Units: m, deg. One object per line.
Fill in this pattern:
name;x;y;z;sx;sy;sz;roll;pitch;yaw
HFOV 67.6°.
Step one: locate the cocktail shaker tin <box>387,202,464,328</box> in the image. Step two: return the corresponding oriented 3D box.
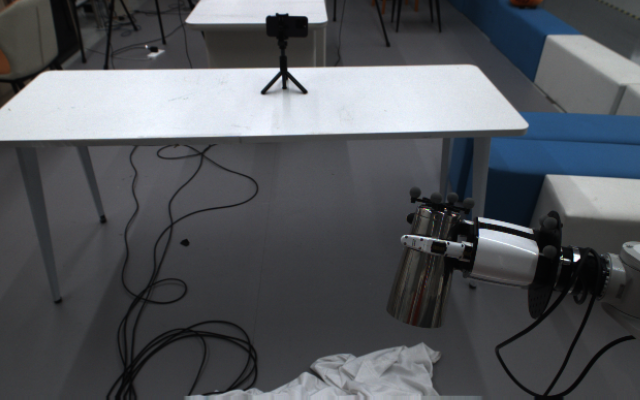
cocktail shaker tin;0.168;0.094;0.744;0.093;0.170;0.093;10;9;-2
